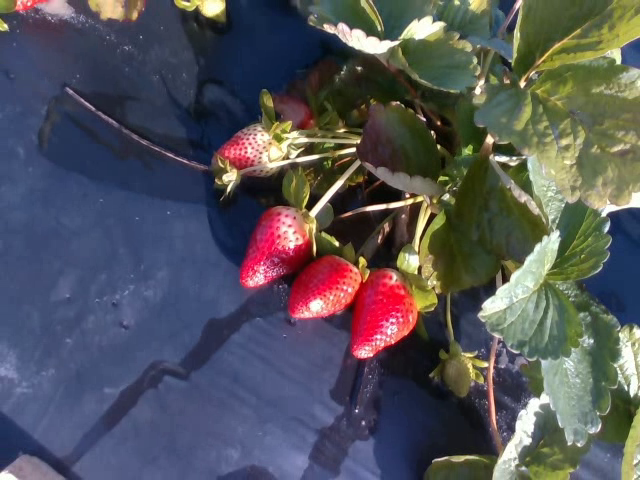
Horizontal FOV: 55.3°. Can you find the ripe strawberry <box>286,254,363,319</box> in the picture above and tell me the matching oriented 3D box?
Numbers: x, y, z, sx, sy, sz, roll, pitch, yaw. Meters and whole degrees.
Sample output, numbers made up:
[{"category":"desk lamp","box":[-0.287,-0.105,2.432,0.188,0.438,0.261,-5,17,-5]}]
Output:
[{"category":"ripe strawberry","box":[0.000,0.022,0.267,0.036,0.031,0.039,-42,-1,36]}]

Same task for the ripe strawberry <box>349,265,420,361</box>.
[{"category":"ripe strawberry","box":[0.023,0.039,0.269,0.035,0.041,0.034,34,-41,3]}]

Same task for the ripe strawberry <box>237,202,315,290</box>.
[{"category":"ripe strawberry","box":[-0.022,0.004,0.275,0.031,0.046,0.023,38,-5,3]}]
